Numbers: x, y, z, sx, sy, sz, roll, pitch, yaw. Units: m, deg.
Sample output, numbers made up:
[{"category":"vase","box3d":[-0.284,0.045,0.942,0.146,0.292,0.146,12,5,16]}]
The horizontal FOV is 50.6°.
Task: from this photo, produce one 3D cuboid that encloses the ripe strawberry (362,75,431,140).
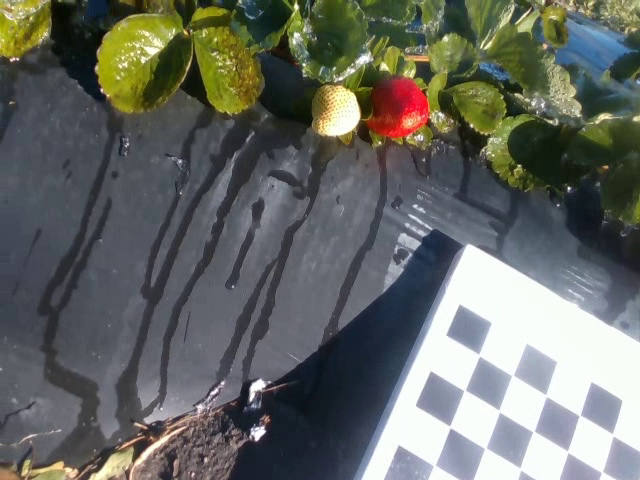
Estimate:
[{"category":"ripe strawberry","box3d":[0.054,-0.080,0.448,0.042,0.046,0.061,17,27,-7]}]
